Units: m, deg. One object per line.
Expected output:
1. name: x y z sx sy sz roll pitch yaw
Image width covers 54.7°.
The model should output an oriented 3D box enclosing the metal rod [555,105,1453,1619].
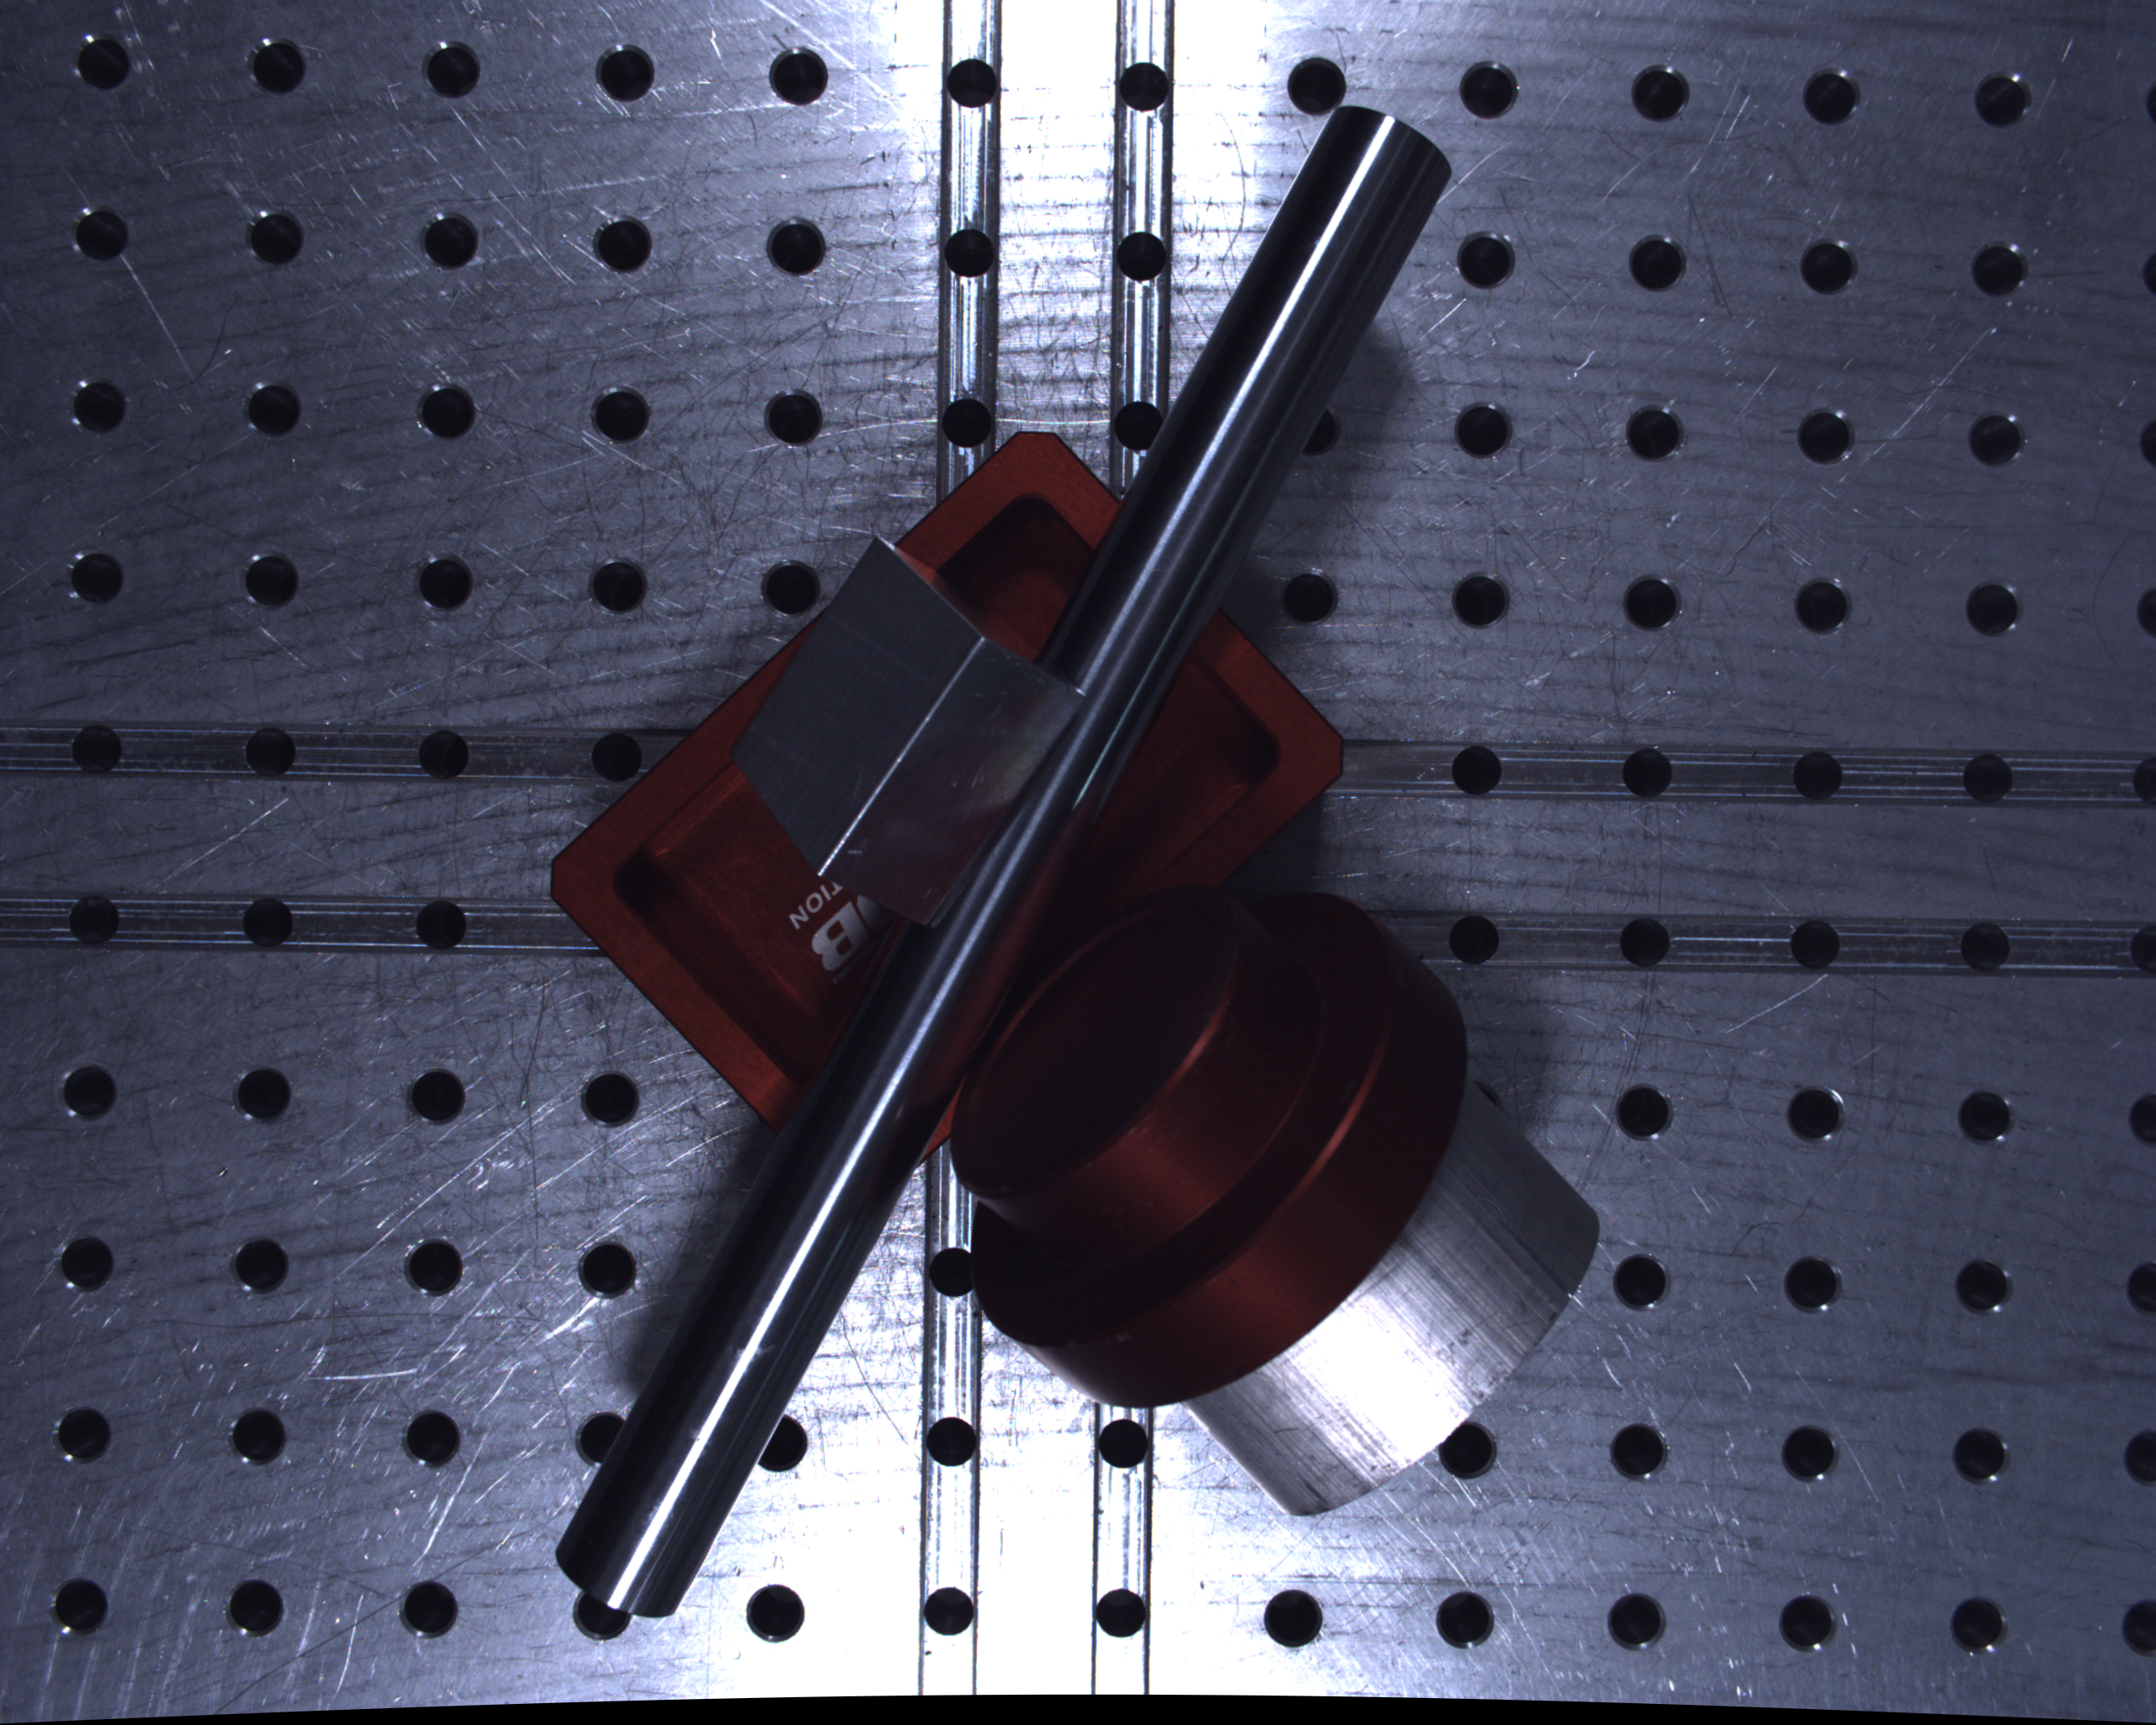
1. metal rod: -0.013 0.000 0.383 0.025 0.025 0.299 28 90 -1

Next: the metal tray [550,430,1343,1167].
1. metal tray: -0.025 -0.009 0.410 0.130 0.030 0.090 -43 91 0

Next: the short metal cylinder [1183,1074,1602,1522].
1. short metal cylinder: 0.049 0.074 0.385 0.080 0.080 0.050 -43 91 0

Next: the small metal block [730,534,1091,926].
1. small metal block: -0.032 -0.025 0.378 0.025 0.050 0.050 28 102 -38

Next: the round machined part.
1. round machined part: 0.016 0.043 0.367 0.098 0.098 0.042 -46 112 0
